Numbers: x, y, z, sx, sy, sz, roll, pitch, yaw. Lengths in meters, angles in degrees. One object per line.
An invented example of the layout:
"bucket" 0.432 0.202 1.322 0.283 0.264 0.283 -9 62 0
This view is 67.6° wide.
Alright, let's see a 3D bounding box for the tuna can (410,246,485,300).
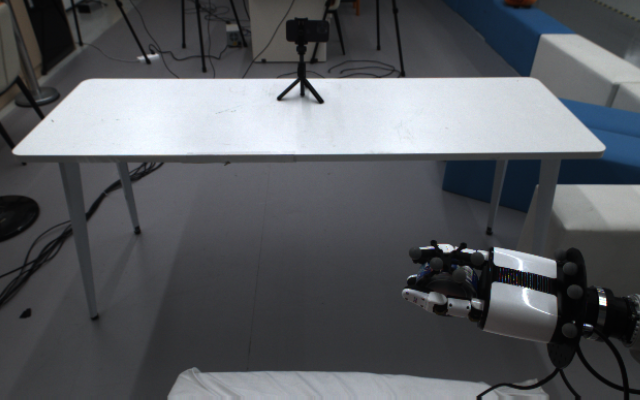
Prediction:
"tuna can" 0.178 0.119 0.673 0.085 0.085 0.034 12 39 14
